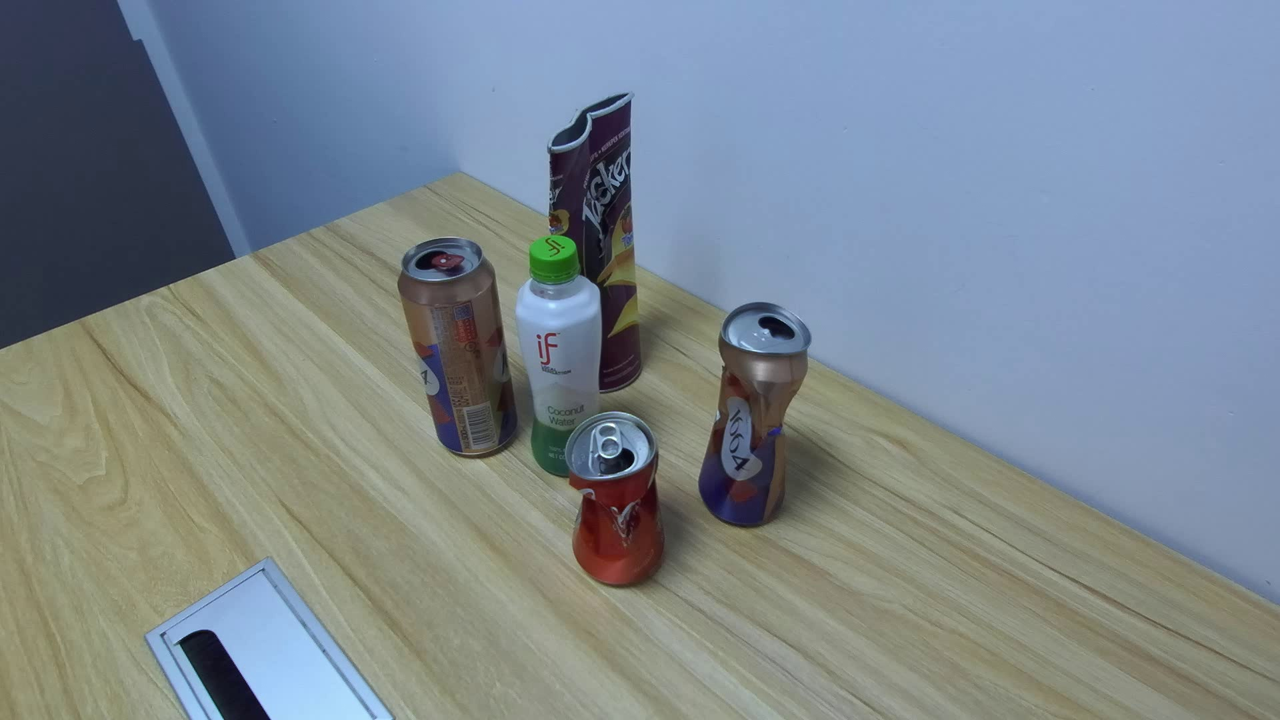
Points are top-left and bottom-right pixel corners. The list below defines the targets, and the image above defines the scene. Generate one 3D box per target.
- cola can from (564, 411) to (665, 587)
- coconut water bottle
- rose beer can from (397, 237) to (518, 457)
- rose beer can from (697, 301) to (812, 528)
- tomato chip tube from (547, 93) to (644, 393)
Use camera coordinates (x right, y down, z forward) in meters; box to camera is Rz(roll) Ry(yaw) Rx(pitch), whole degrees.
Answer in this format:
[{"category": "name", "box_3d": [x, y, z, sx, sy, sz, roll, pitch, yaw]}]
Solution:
[{"category": "cola can", "box_3d": [-0.016, 0.091, 0.466, 0.065, 0.112, 0.069, 17, 44, 20]}, {"category": "coconut water bottle", "box_3d": [-0.055, 0.000, 0.509, 0.063, 0.189, 0.063, 0, 39, 1]}, {"category": "rose beer can", "box_3d": [-0.135, -0.004, 0.538, 0.068, 0.169, 0.068, -1, 38, 1]}, {"category": "rose beer can", "box_3d": [0.075, 0.041, 0.484, 0.068, 0.162, 0.073, -29, 50, -31]}, {"category": "tomato chip tube", "box_3d": [-0.035, -0.080, 0.571, 0.090, 0.236, 0.077, -13, 42, -18]}]
